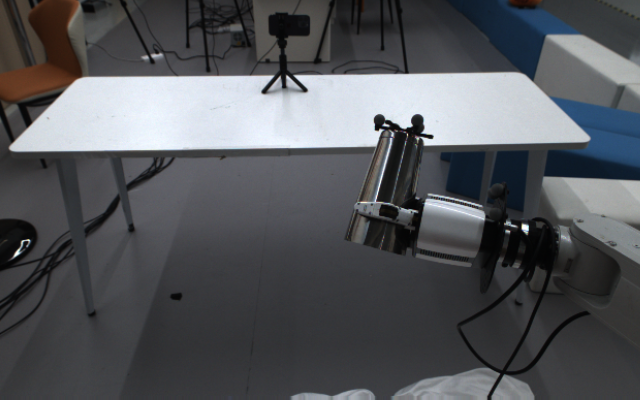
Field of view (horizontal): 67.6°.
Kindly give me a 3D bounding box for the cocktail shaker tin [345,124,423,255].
[{"bbox_3d":[0.101,-0.012,0.713,0.093,0.170,0.093,15,-4,1],"label":"cocktail shaker tin"}]
